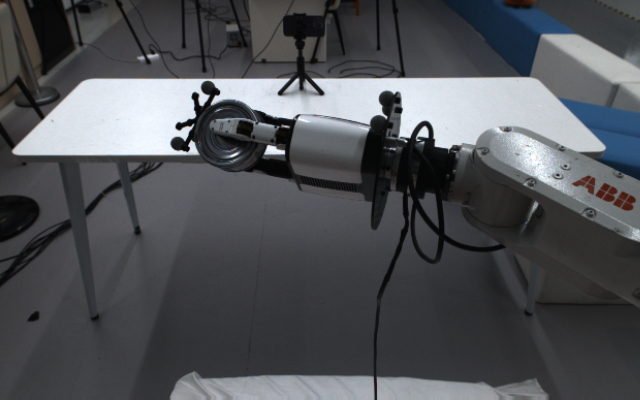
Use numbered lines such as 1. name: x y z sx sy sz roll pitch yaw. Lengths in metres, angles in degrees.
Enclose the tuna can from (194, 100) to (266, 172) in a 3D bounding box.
1. tuna can: -0.106 -0.075 0.593 0.085 0.085 0.034 9 -3 10
